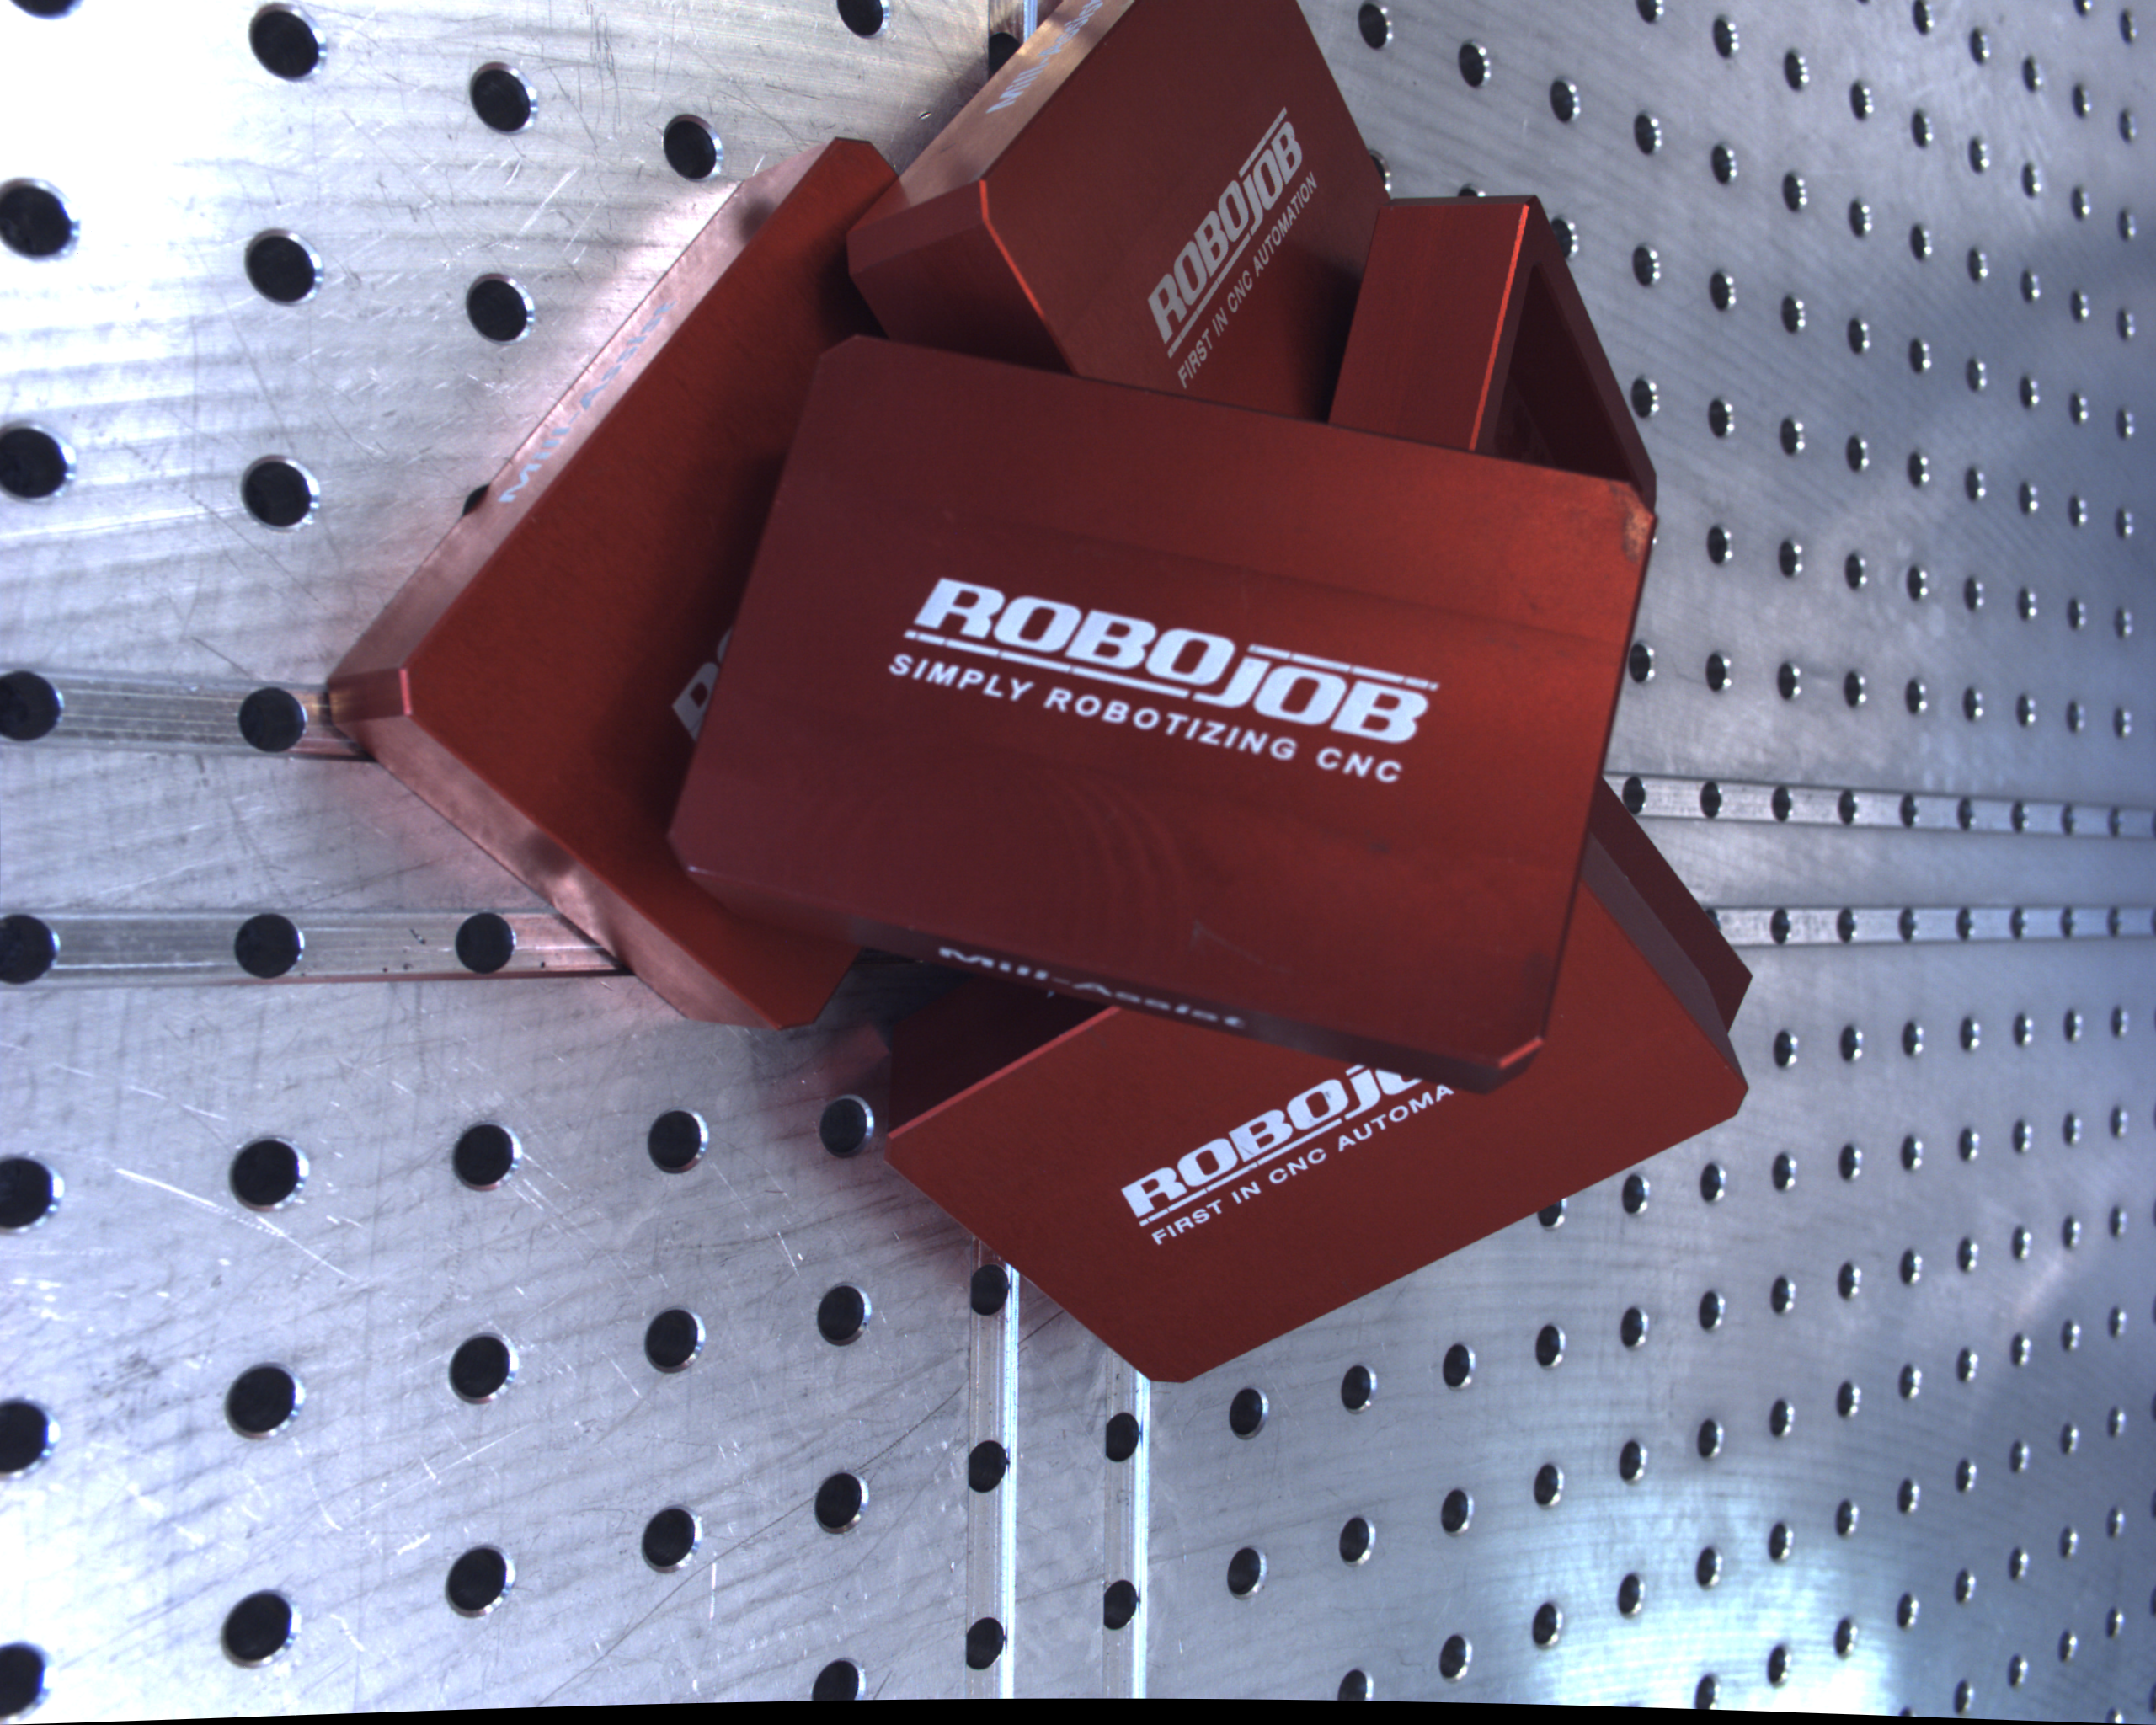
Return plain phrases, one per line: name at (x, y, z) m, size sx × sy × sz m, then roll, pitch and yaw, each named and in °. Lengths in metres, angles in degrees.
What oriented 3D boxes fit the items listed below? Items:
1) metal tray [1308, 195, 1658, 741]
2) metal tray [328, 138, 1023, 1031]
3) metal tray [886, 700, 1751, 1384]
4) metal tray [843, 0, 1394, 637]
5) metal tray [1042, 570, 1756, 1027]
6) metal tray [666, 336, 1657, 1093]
metal tray at (0.090, -0.070, 0.448) m, size 0.130 × 0.030 × 0.090 m, roll 33°, pitch 68°, yaw -59°
metal tray at (-0.052, -0.048, 0.361) m, size 0.090 × 0.030 × 0.130 m, roll 47°, pitch 62°, yaw -31°
metal tray at (0.042, 0.038, 0.381) m, size 0.090 × 0.130 × 0.030 m, roll 46°, pitch 24°, yaw -30°
metal tray at (0.018, -0.114, 0.395) m, size 0.090 × 0.030 × 0.130 m, roll 56°, pitch 44°, yaw -29°
metal tray at (0.065, -0.003, 0.418) m, size 0.130 × 0.090 × 0.030 m, roll 46°, pitch 63°, yaw -31°
metal tray at (0.013, -0.024, 0.321) m, size 0.030 × 0.130 × 0.090 m, roll 67°, pitch 37°, yaw -75°
